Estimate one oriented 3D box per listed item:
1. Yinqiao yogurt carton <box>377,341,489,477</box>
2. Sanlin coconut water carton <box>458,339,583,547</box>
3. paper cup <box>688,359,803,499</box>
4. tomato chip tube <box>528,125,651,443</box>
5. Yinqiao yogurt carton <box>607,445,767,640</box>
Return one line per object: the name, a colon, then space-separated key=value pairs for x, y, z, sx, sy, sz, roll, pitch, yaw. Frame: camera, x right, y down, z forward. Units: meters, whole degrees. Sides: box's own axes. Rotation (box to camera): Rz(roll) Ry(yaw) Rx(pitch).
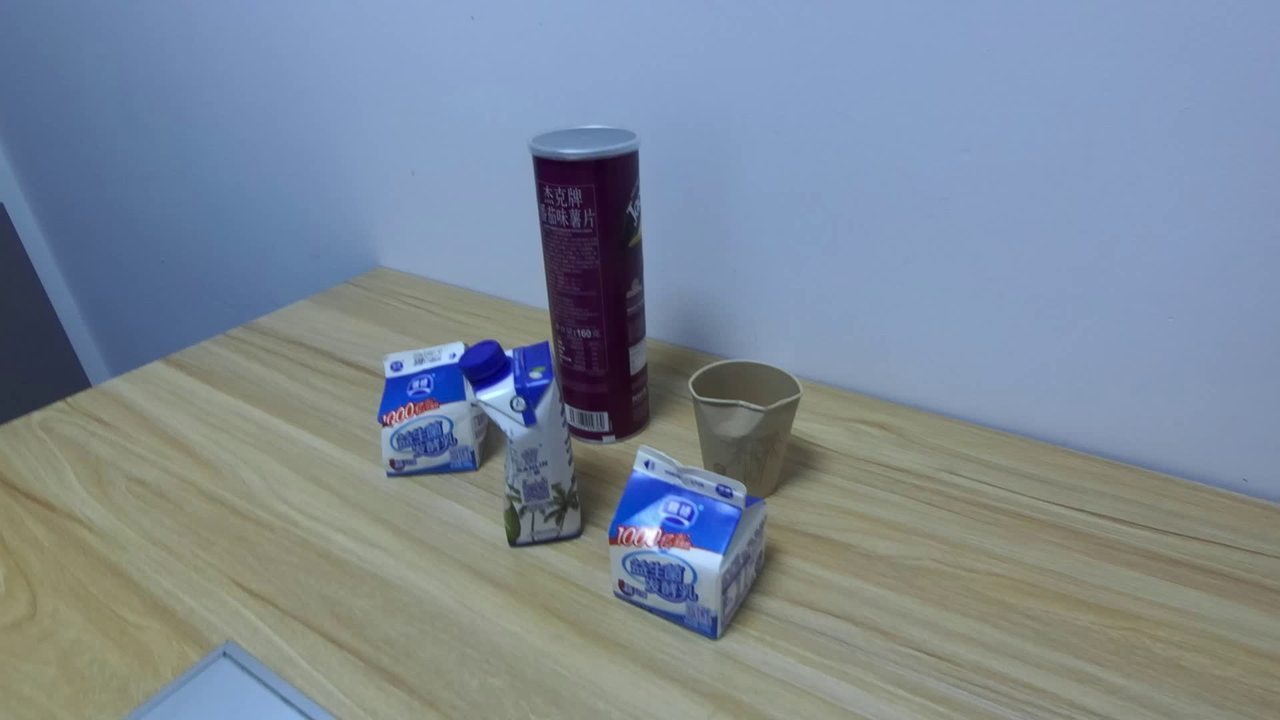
Yinqiao yogurt carton: x=-0.164 y=0.031 z=0.561 sx=0.083 sy=0.093 sz=0.077 roll=-4 pitch=30 yaw=-4
Sanlin coconut water carton: x=-0.074 y=0.051 z=0.470 sx=0.058 sy=0.142 sz=0.078 roll=-11 pitch=30 yaw=-4
paper cup: x=0.073 y=0.052 z=0.509 sx=0.074 sy=0.081 sz=0.068 roll=-20 pitch=33 yaw=-30
tomato chip tube: x=-0.034 y=-0.052 z=0.549 sx=0.078 sy=0.234 sz=0.078 roll=-2 pitch=29 yaw=1
Yinqiao yogurt carton: x=0.030 y=0.099 z=0.424 sx=0.075 sy=0.092 sz=0.074 roll=16 pitch=34 yaw=27
